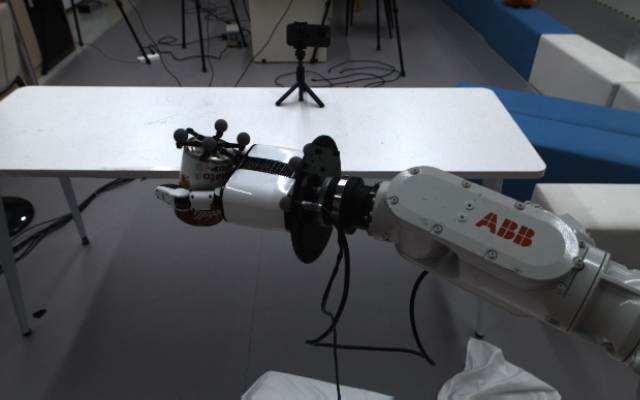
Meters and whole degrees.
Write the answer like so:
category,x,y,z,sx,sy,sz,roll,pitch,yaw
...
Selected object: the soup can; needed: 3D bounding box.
category,x,y,z,sx,sy,sz,roll,pitch,yaw
soup can,-0.152,-0.023,0.639,0.067,0.101,0.067,14,31,-8
